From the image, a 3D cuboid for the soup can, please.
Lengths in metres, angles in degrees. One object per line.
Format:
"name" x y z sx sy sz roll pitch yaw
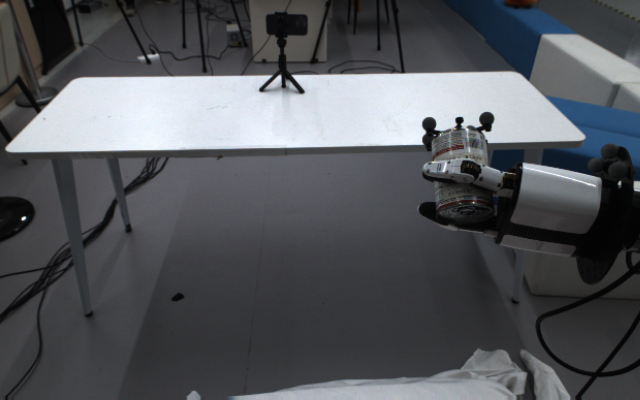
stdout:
"soup can" 0.174 -0.029 0.590 0.067 0.067 0.101 2 68 0
